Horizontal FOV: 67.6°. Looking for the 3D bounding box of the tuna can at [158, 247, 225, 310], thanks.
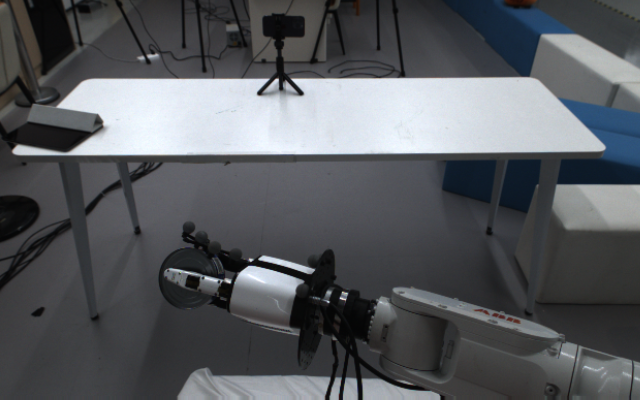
[{"bbox_3d":[-0.177,0.110,0.676,0.085,0.085,0.034,9,-5,11],"label":"tuna can"}]
